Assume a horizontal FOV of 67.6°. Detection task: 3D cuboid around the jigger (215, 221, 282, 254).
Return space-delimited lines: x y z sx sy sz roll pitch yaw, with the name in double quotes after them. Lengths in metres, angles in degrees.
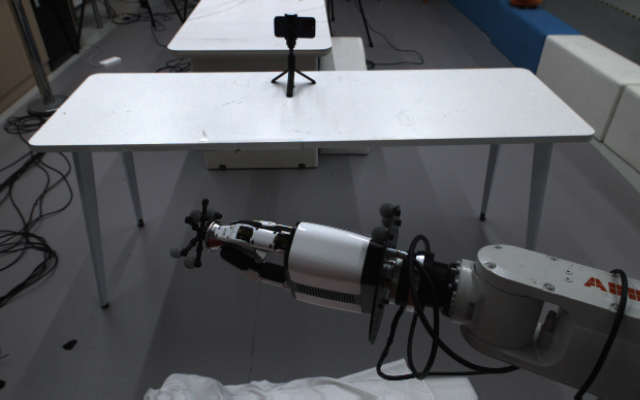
-0.095 0.046 0.597 0.071 0.043 0.043 10 35 16 "jigger"
